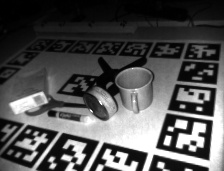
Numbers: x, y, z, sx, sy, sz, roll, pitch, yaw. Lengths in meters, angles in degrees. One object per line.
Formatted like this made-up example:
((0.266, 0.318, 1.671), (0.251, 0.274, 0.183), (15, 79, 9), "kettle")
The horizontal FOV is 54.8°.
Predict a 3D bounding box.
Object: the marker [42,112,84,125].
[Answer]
((-0.129, 0.084, 0.557), (0.120, 0.020, 0.019), (4, 44, 21), "marker")

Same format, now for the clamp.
((0.005, -0.023, 0.647), (0.164, 0.037, 0.202), (0, 42, 16), "clamp")

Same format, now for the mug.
((0.045, 0.024, 0.533), (0.093, 0.082, 0.116), (-11, 36, 3), "mug")

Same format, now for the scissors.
((-0.154, 0.051, 0.601), (0.201, 0.016, 0.087), (0, 38, 14), "scissors")

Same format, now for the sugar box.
((-0.245, 0.012, 0.648), (0.093, 0.046, 0.175), (-17, 33, -4), "sugar box")

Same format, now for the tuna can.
((-0.031, 0.049, 0.518), (0.084, 0.086, 0.034), (21, 51, 36), "tuna can")
